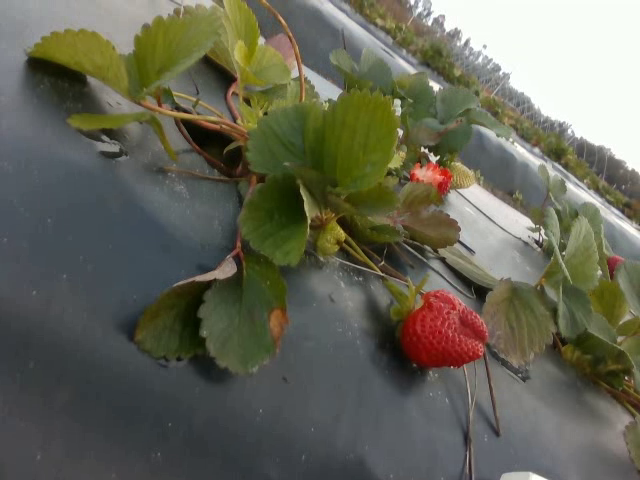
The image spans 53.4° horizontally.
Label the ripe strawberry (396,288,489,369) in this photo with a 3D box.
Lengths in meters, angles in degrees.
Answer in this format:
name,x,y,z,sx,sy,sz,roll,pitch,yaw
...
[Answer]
name,x,y,z,sx,sy,sz,roll,pitch,yaw
ripe strawberry,0.019,0.015,0.094,0.015,0.014,0.017,21,49,30
